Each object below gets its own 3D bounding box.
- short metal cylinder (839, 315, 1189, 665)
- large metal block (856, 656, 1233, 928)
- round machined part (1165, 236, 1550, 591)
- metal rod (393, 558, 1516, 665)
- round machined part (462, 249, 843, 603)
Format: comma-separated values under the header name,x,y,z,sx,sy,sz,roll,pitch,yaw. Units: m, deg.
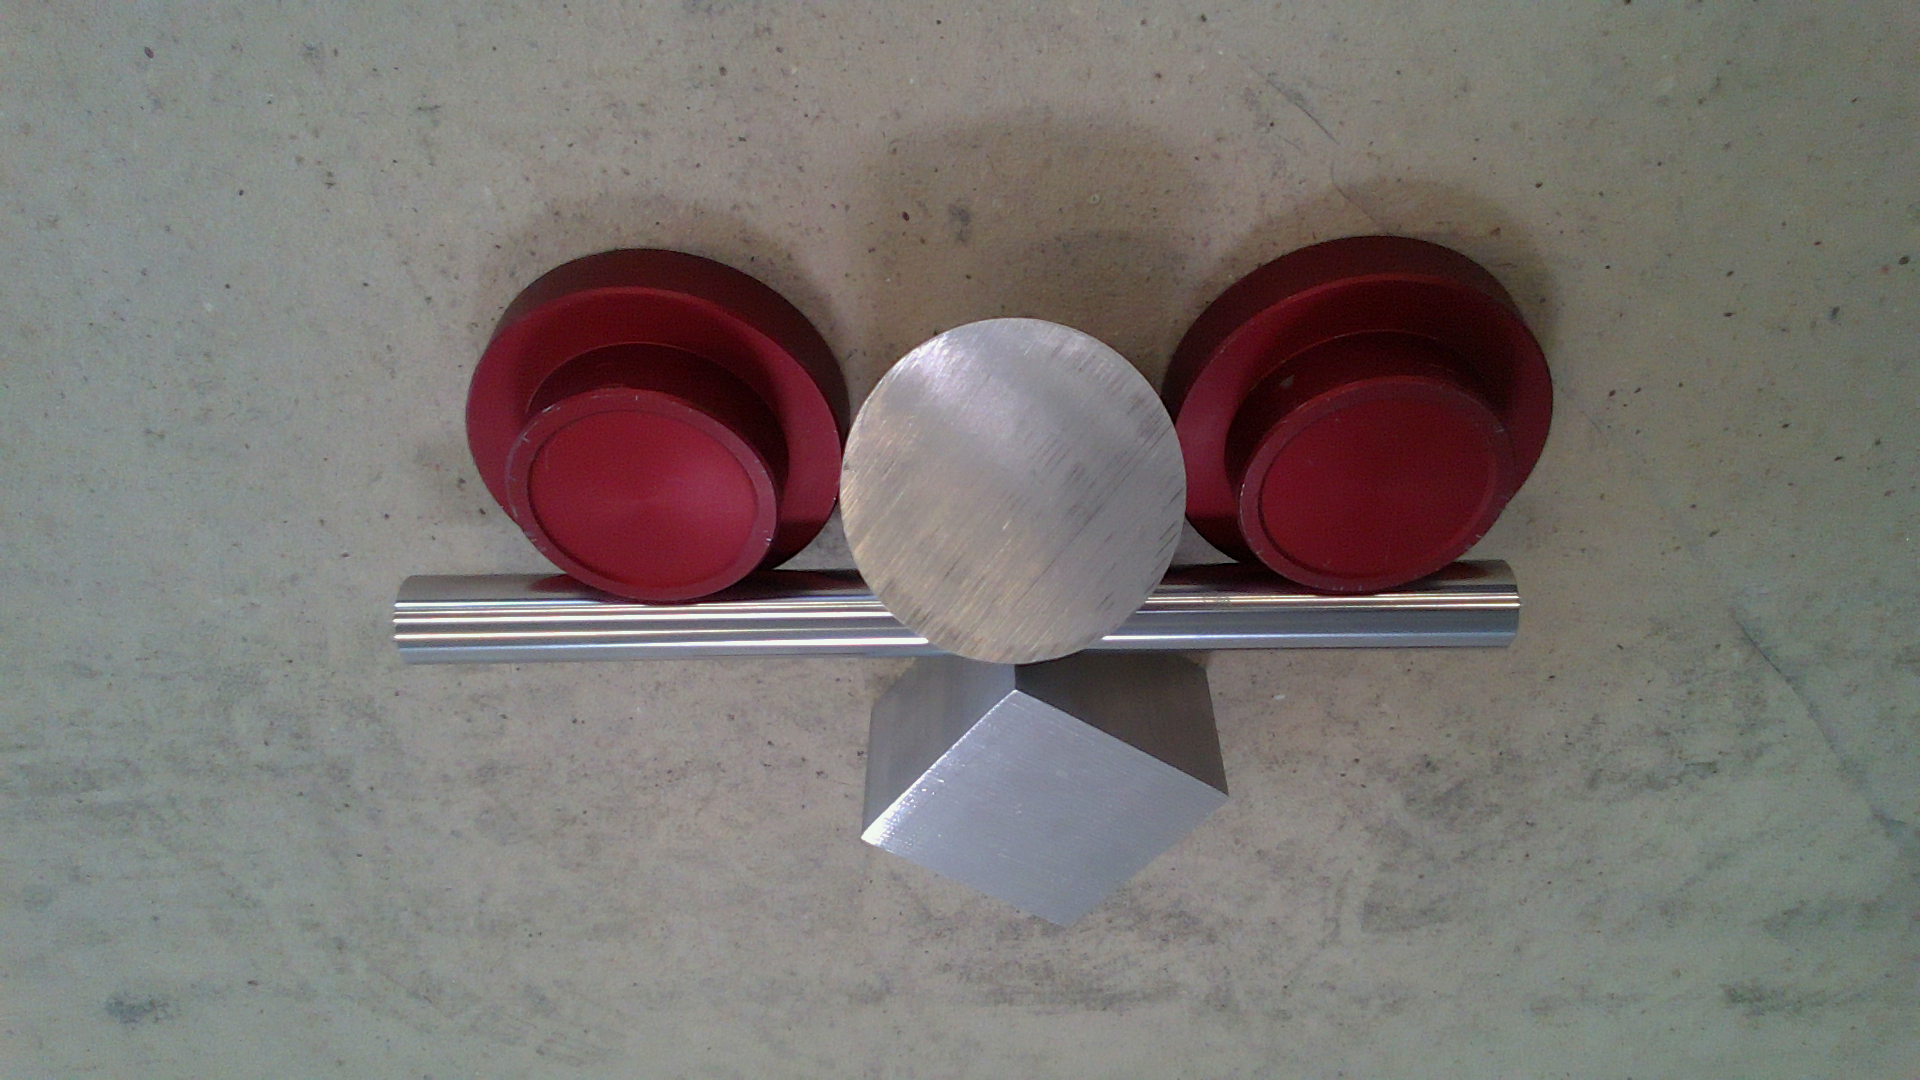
name,x,y,z,sx,sy,sz,roll,pitch,yaw
short metal cylinder,0.013,-0.013,0.339,0.080,0.050,0.080,0,95,0
large metal block,0.024,0.067,0.428,0.080,0.050,0.080,28,125,-22
round machined part,0.104,-0.025,0.359,0.098,0.042,0.098,0,130,0
metal rod,-0.002,0.020,0.379,0.300,0.025,0.025,-1,130,0
round machined part,-0.080,-0.022,0.360,0.098,0.042,0.098,0,130,0
